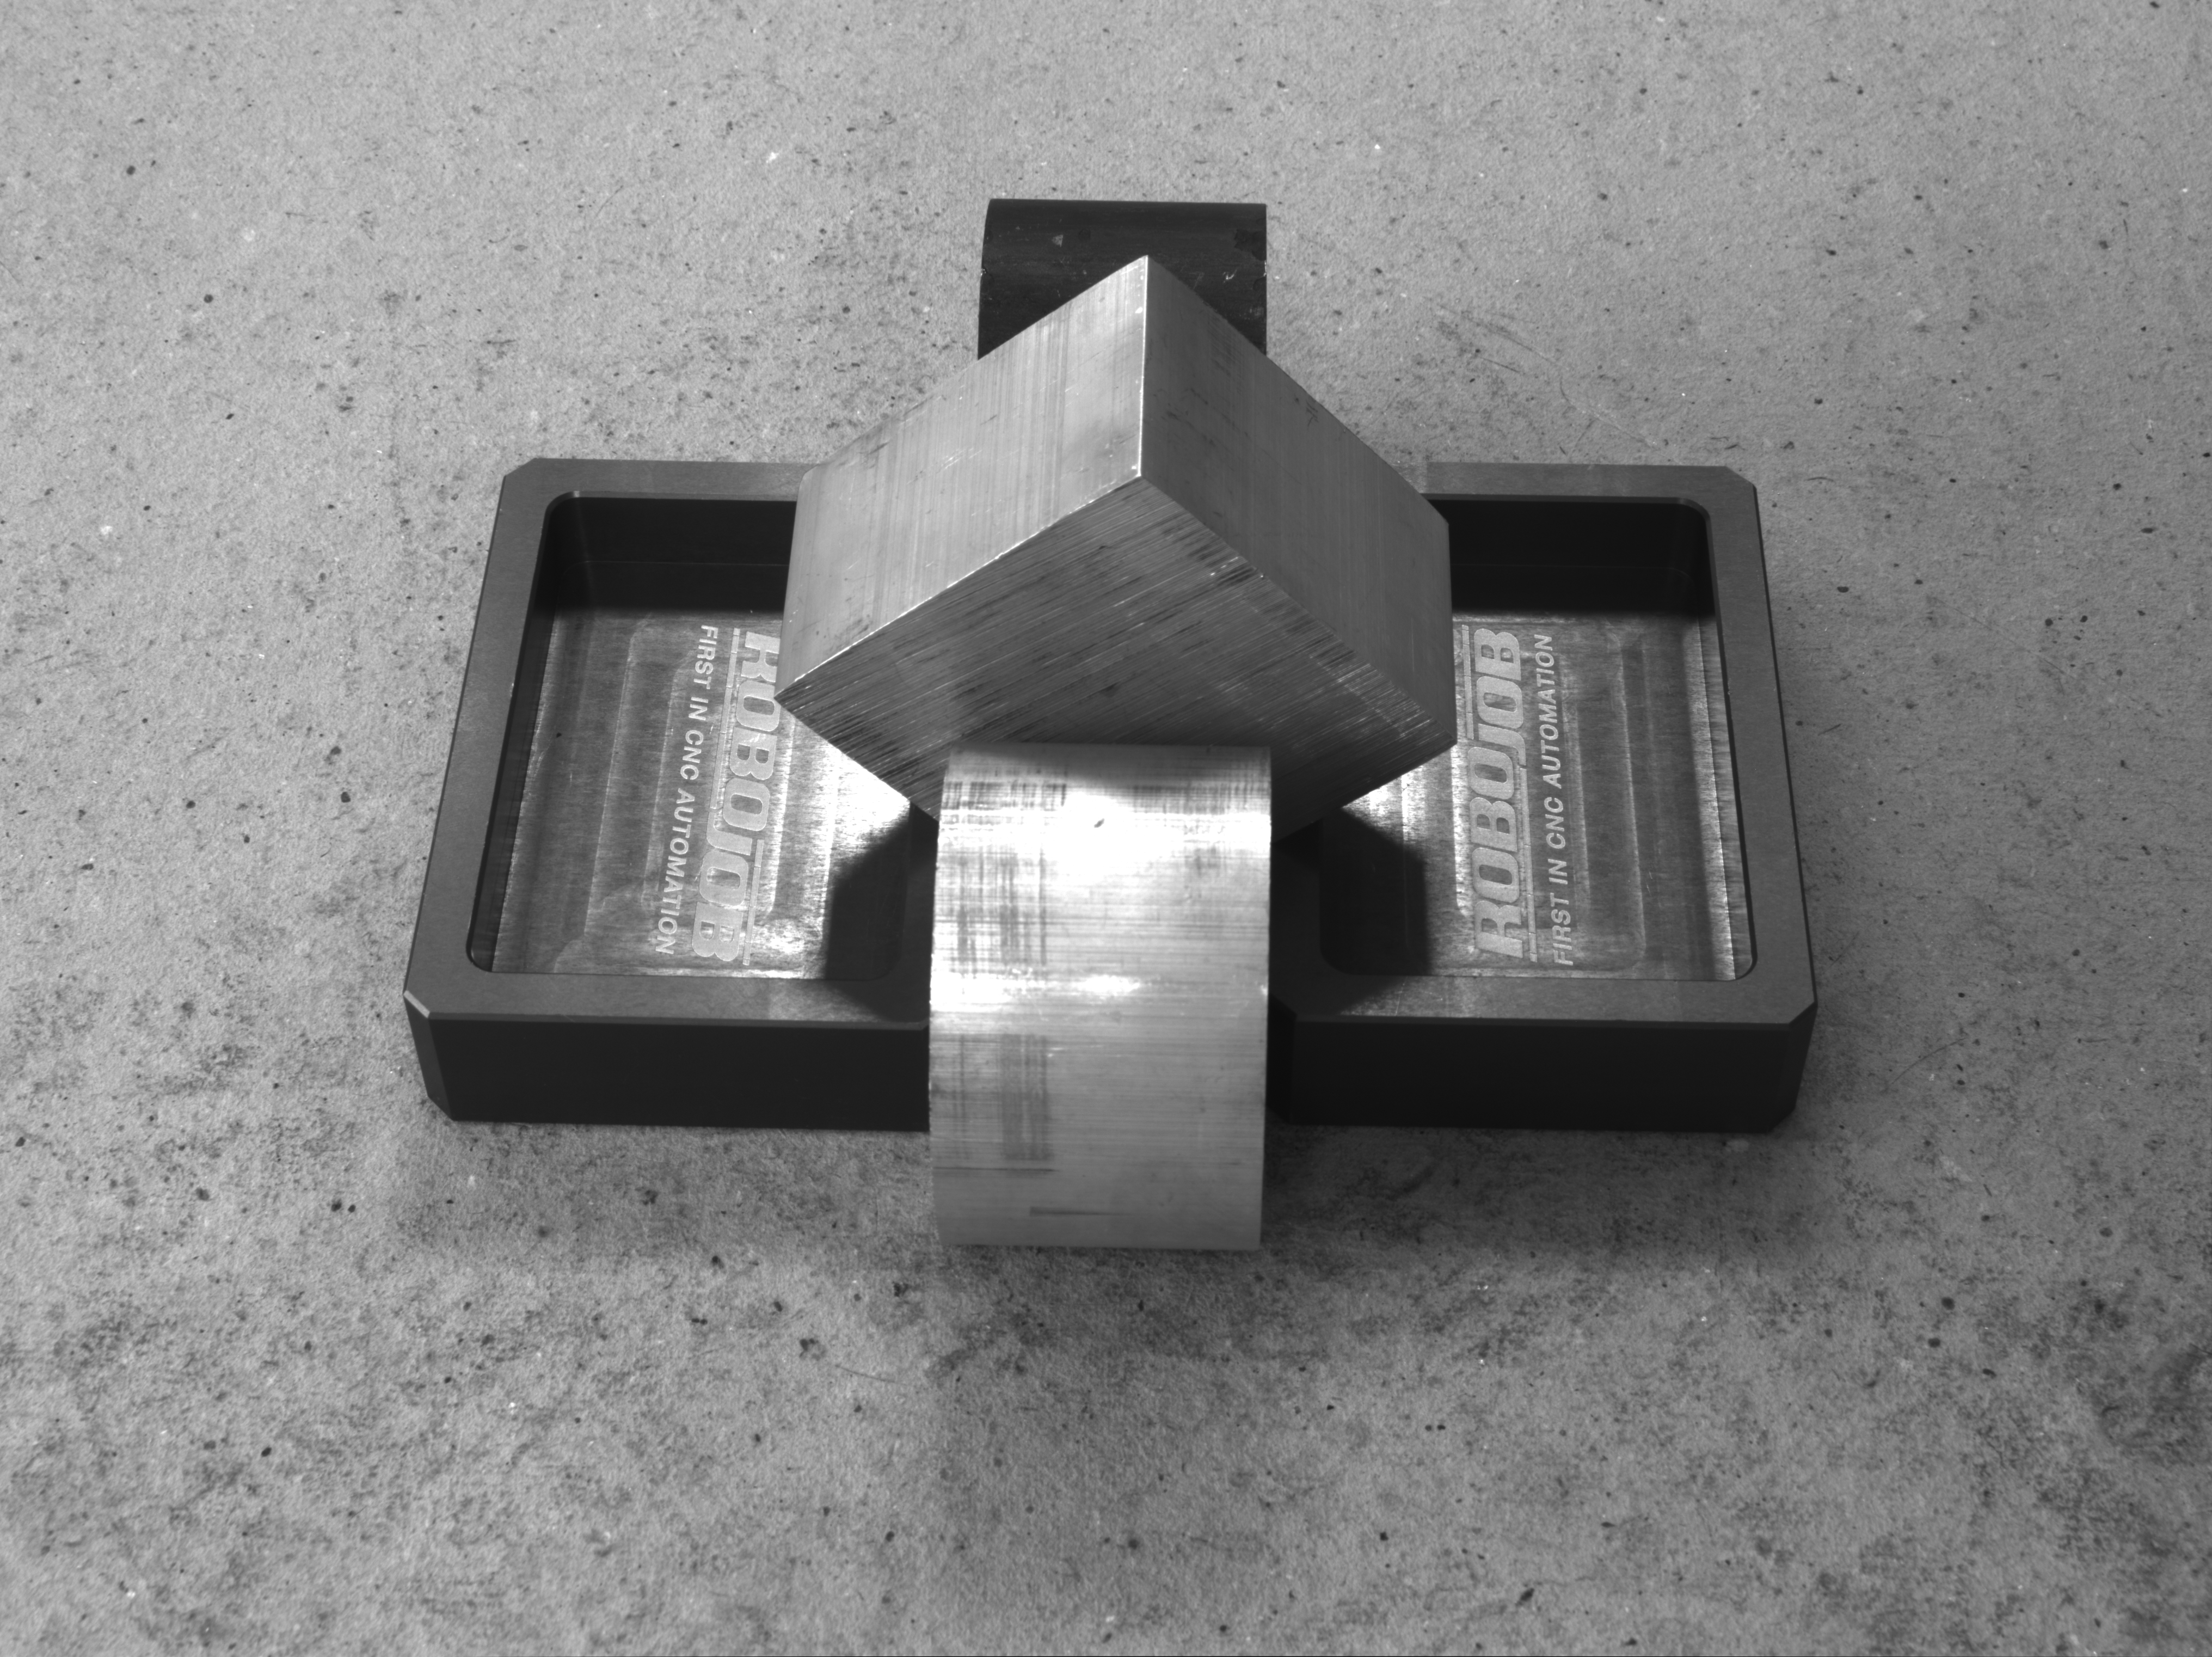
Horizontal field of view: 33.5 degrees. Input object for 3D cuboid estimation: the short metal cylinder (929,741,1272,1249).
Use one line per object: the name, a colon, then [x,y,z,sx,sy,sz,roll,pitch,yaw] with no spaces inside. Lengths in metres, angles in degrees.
short metal cylinder: [0.000,0.026,0.585,0.050,0.080,0.080,2,50,2]

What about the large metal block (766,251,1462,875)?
large metal block: [0.002,-0.037,0.611,0.080,0.080,0.050,-28,42,31]

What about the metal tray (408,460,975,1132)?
metal tray: [-0.067,-0.009,0.647,0.090,0.030,0.130,1,50,1]

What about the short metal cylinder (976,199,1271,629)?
short metal cylinder: [0.004,-0.074,0.669,0.050,0.080,0.080,2,50,2]

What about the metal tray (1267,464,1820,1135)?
metal tray: [0.073,-0.008,0.647,0.090,0.030,0.130,1,50,1]
